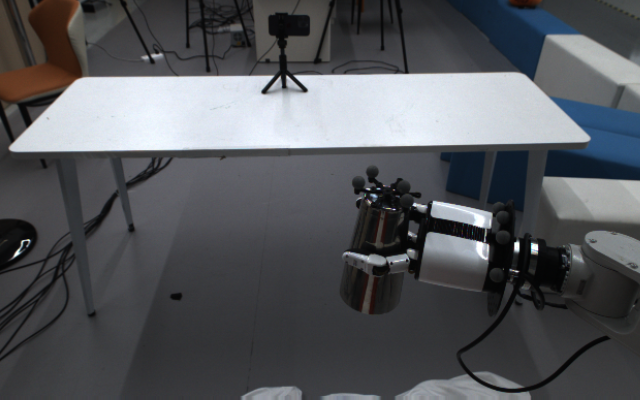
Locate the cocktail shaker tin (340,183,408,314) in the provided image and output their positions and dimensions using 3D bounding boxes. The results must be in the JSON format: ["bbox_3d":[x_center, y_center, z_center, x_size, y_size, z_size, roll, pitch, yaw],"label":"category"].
[{"bbox_3d":[0.083,0.067,0.687,0.093,0.170,0.093,4,32,-2],"label":"cocktail shaker tin"}]
